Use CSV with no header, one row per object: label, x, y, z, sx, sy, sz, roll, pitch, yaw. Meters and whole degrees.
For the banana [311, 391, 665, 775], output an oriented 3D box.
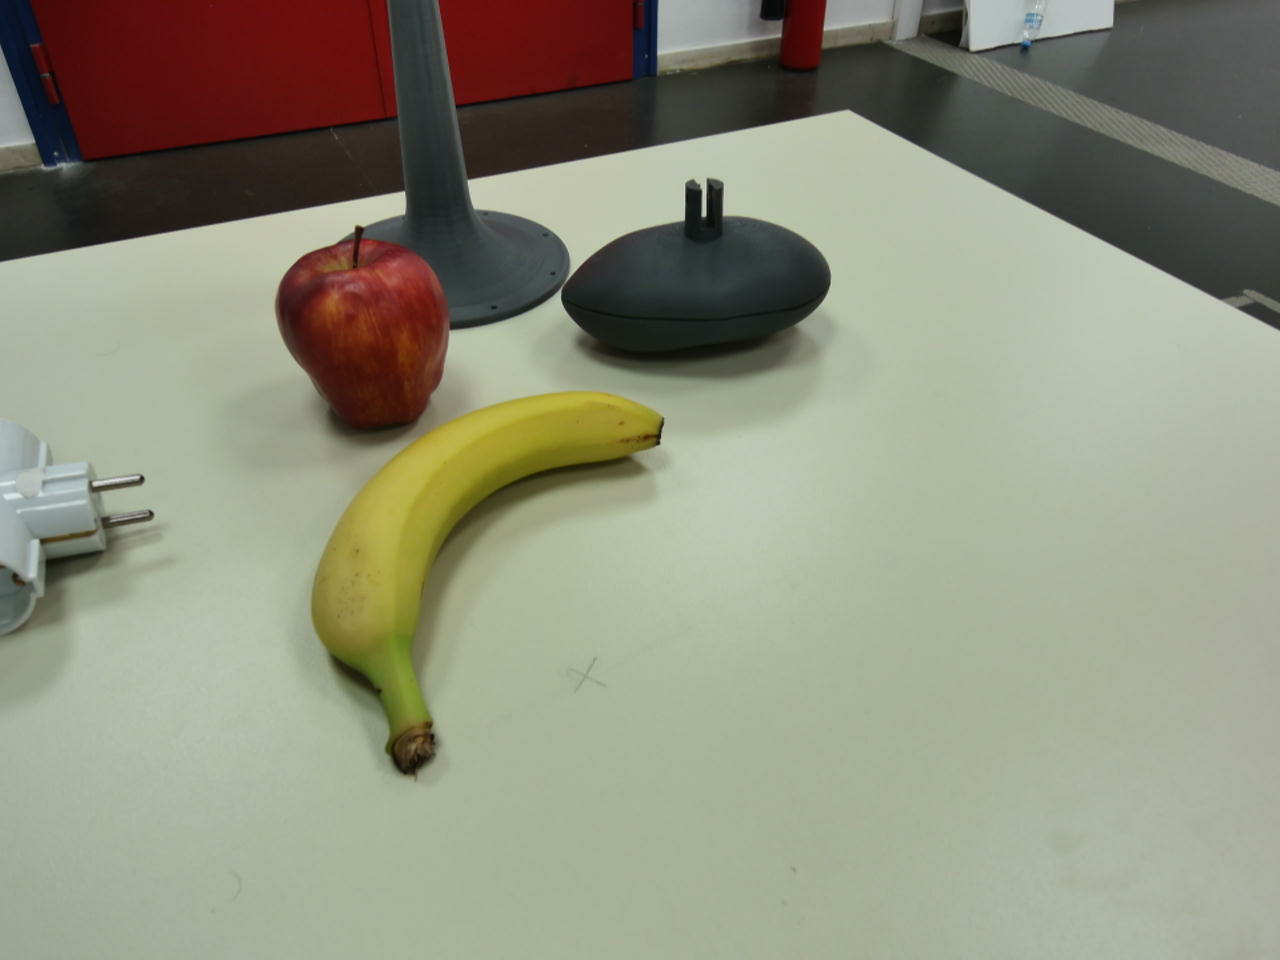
banana,-0.070,0.017,0.401,0.094,0.041,0.196,18,41,21
